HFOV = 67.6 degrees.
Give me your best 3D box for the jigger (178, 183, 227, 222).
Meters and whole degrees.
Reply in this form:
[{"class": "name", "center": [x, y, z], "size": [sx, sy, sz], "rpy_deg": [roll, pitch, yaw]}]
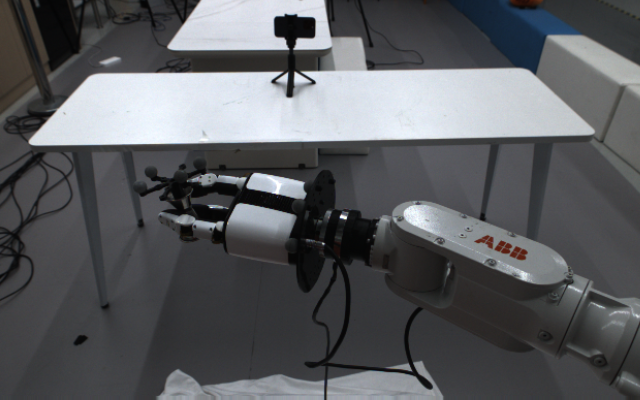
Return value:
[{"class": "jigger", "center": [-0.181, 0.018, 0.663], "size": [0.043, 0.071, 0.043], "rpy_deg": [-10, 32, 6]}]
